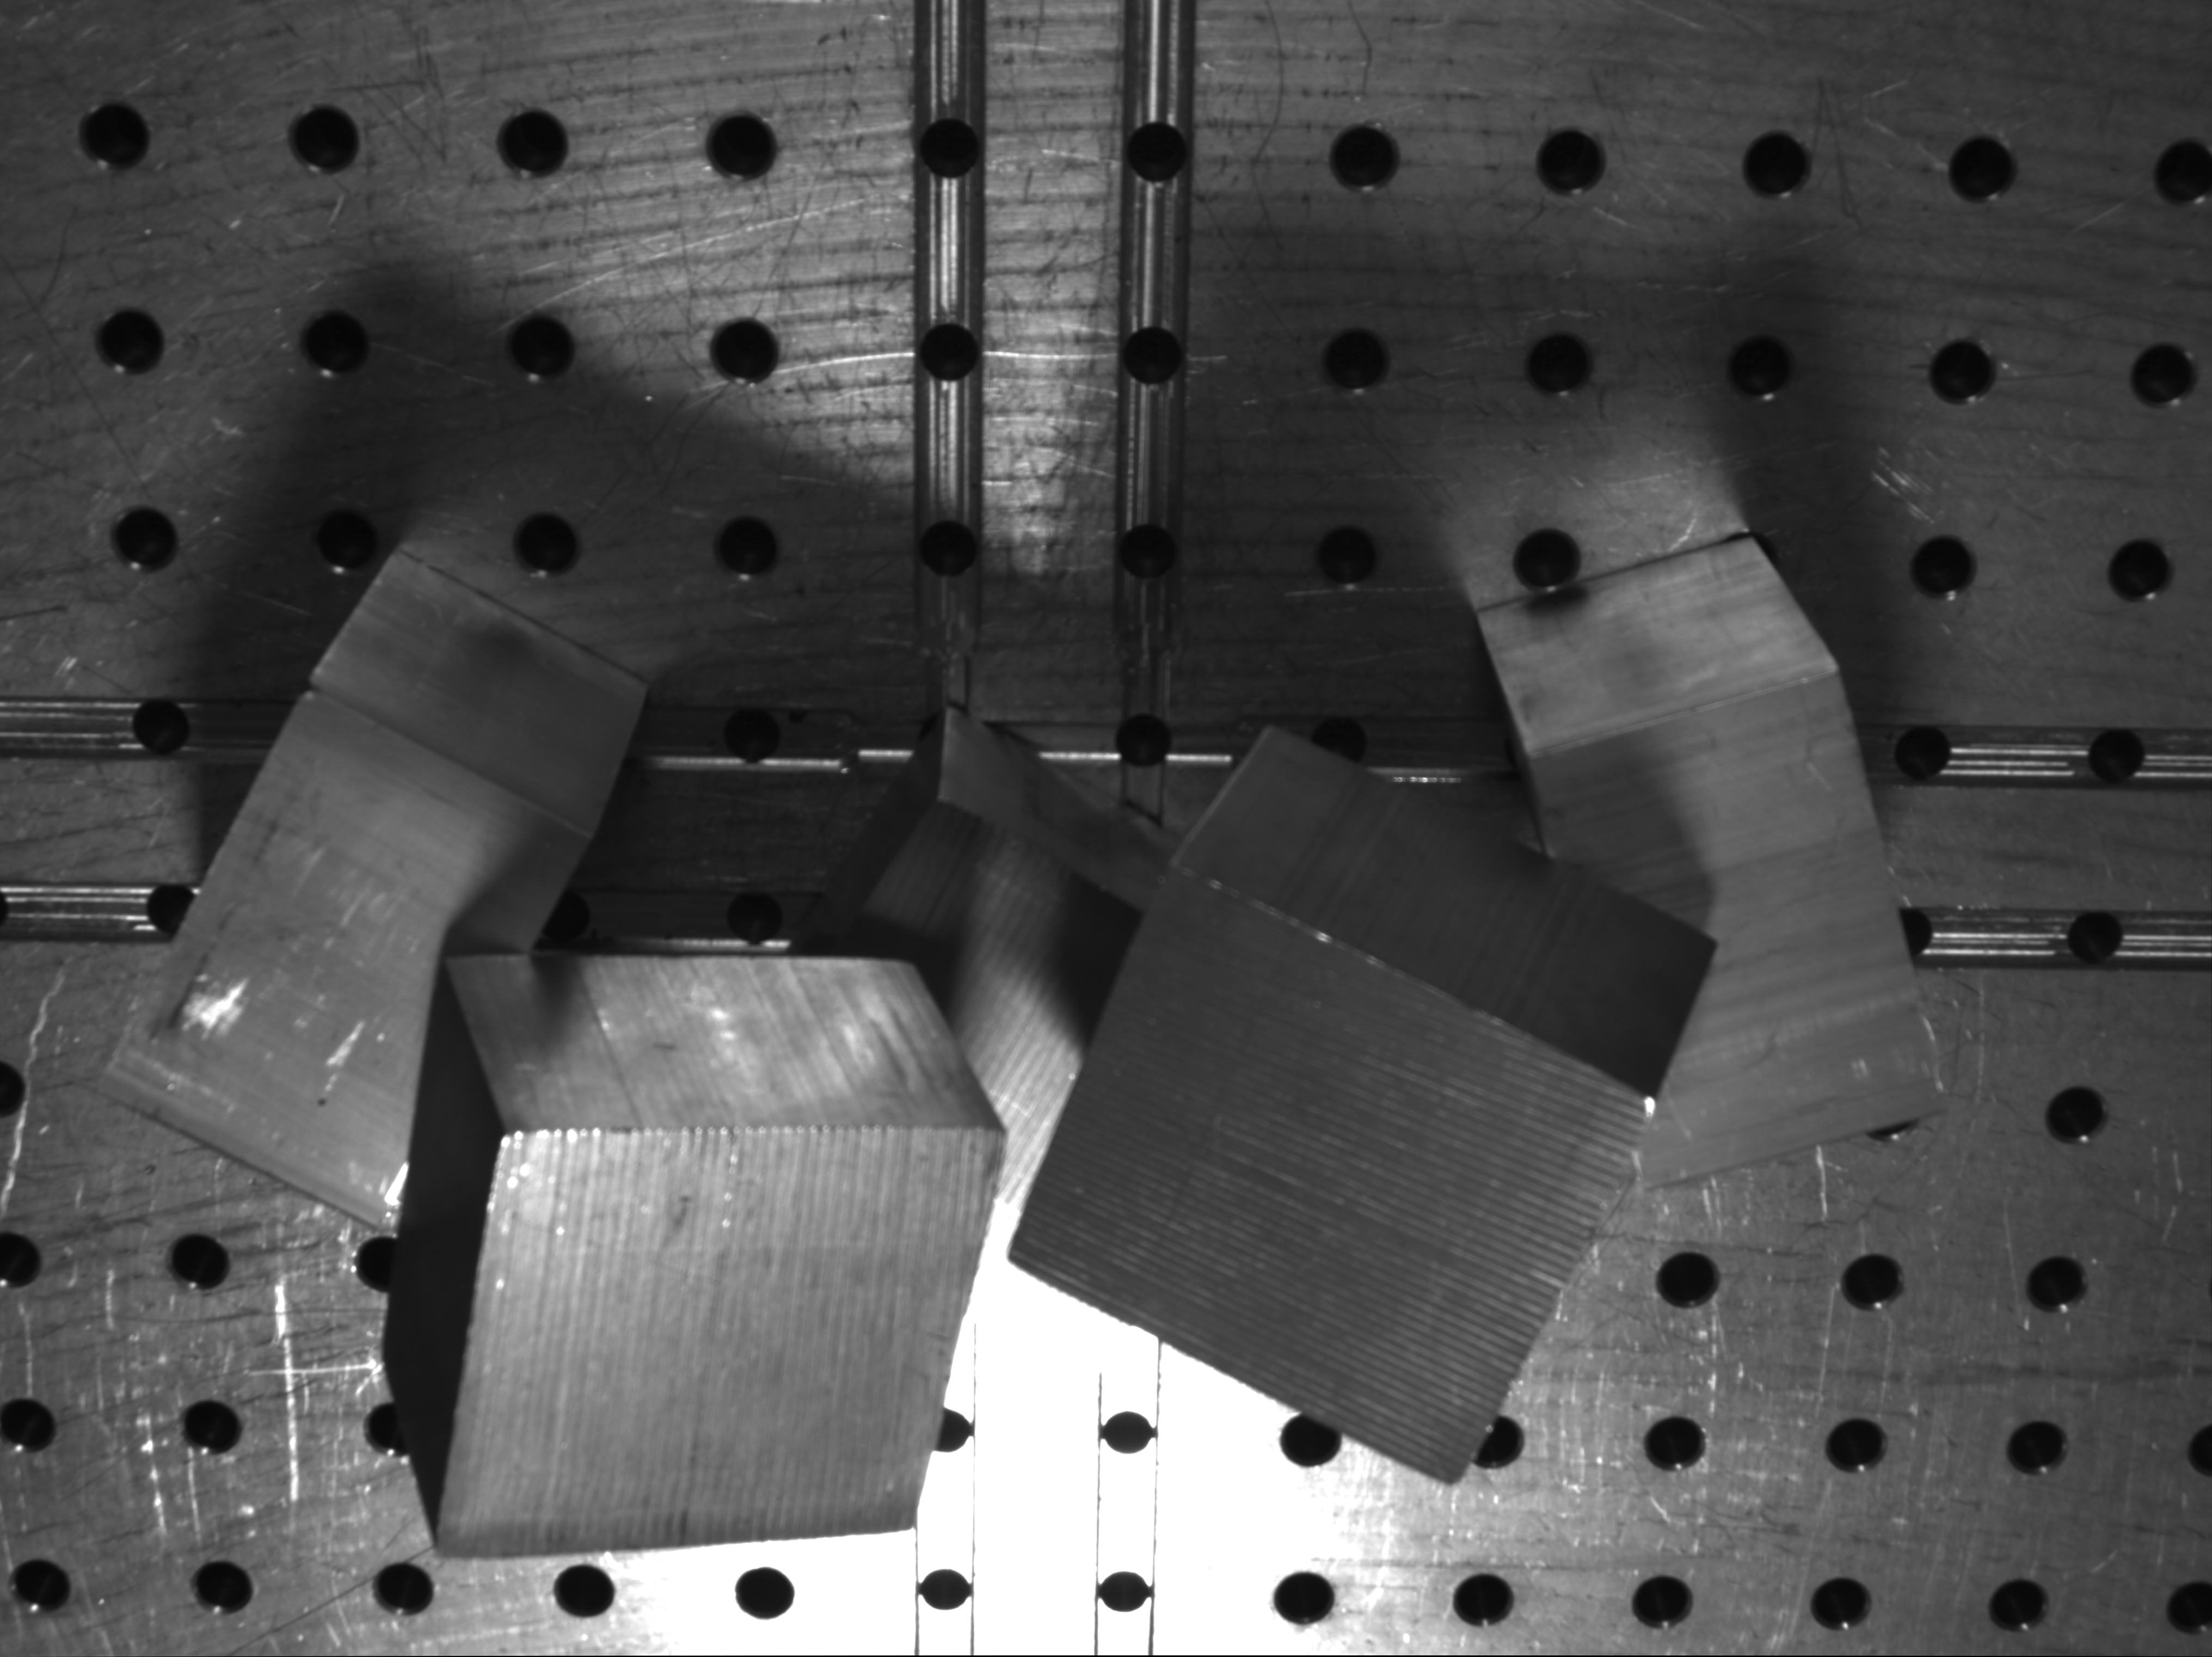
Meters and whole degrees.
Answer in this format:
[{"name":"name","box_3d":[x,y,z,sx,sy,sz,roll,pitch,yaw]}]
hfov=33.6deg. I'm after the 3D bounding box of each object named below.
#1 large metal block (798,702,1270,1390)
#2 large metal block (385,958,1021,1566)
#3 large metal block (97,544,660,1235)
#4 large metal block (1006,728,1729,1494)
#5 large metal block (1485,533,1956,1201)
[{"name":"large metal block","box_3d":[-0.013,0.038,0.645,0.080,0.050,0.080,31,107,-11]},{"name":"large metal block","box_3d":[-0.066,0.068,0.586,0.080,0.050,0.080,1,119,-23]},{"name":"large metal block","box_3d":[-0.120,0.008,0.617,0.050,0.080,0.080,28,107,-10]},{"name":"large metal block","box_3d":[0.041,0.044,0.575,0.080,0.050,0.080,26,121,6]},{"name":"large metal block","box_3d":[0.102,0.005,0.619,0.050,0.080,0.080,-15,109,5]}]
